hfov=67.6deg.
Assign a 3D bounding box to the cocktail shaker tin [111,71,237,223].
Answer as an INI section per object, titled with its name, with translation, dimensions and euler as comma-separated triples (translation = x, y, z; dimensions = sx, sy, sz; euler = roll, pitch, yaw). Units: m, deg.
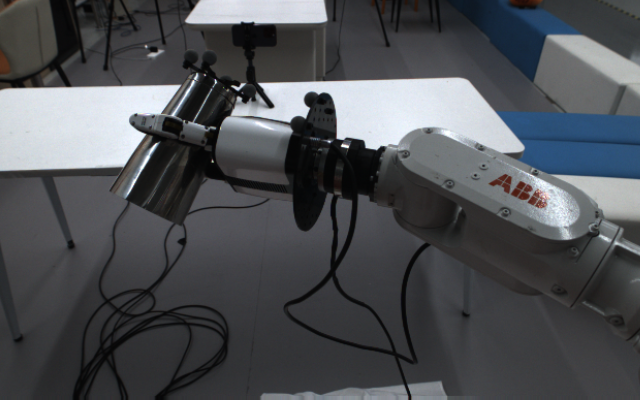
[cocktail shaker tin]
translation = -0.167, -0.067, 0.585
dimensions = 0.093, 0.093, 0.170
euler = 21, 81, 25
